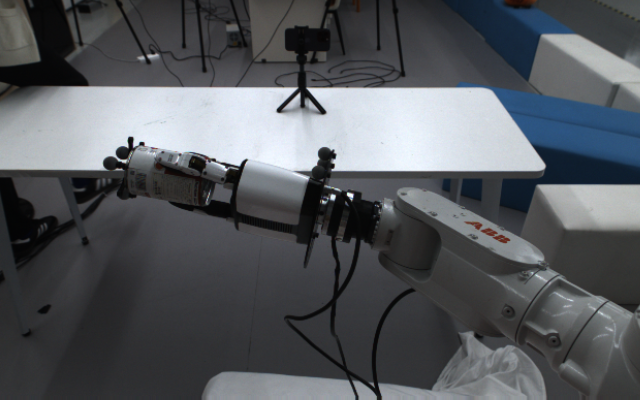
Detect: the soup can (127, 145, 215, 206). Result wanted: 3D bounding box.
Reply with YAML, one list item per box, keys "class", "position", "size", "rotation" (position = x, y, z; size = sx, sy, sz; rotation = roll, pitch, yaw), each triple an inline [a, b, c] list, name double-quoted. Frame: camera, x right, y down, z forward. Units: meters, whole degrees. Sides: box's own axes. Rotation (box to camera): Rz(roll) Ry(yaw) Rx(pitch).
- class: "soup can"
  position: [-0.193, -0.031, 0.638]
  size: [0.101, 0.067, 0.067]
  rotation: [10, 35, -1]
